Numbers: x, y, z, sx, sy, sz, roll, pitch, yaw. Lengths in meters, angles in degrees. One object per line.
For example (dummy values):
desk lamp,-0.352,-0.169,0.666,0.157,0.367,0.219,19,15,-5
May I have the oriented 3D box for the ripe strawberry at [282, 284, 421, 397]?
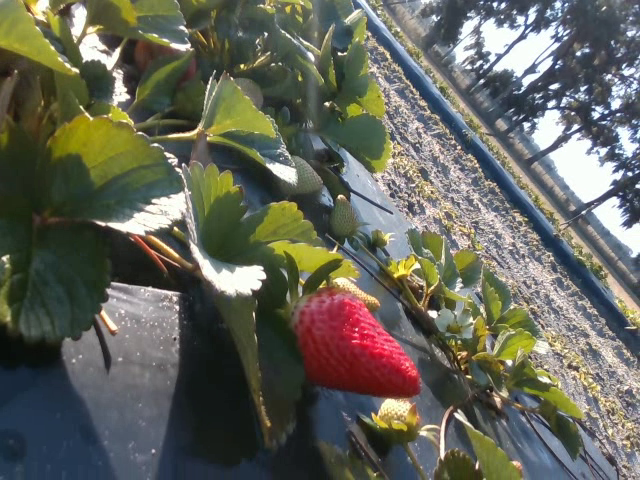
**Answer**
ripe strawberry,0.016,0.048,0.261,0.072,0.056,0.055,32,-28,14
